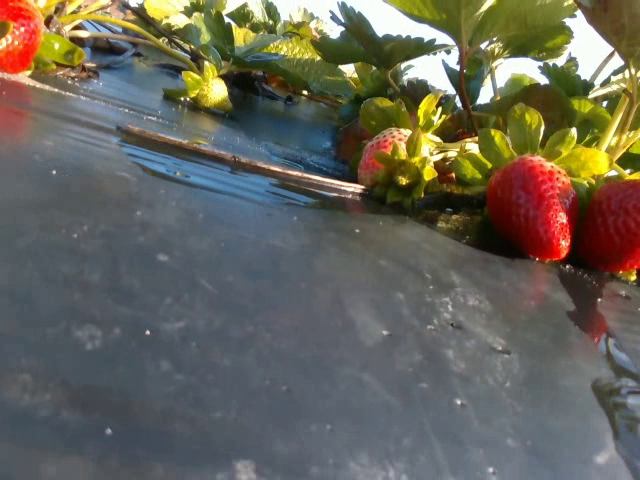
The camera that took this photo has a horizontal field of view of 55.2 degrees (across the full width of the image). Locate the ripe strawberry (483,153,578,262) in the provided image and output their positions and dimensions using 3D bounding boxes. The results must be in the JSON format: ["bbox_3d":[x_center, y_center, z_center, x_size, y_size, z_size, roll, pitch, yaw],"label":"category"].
[{"bbox_3d":[0.069,-0.011,0.188,0.031,0.023,0.046,14,38,-9],"label":"ripe strawberry"}]

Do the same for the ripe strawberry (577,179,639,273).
[{"bbox_3d":[0.098,-0.008,0.188,0.030,0.037,0.039,22,-12,-3],"label":"ripe strawberry"}]
